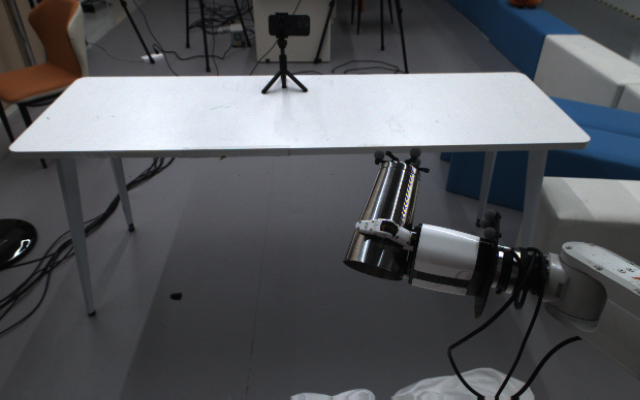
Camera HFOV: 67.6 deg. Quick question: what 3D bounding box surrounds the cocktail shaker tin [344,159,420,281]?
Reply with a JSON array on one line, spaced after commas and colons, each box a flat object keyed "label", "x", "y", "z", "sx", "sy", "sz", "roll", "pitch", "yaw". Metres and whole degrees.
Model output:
[{"label": "cocktail shaker tin", "x": 0.102, "y": 0.030, "z": 0.751, "sx": 0.093, "sy": 0.093, "sz": 0.170, "roll": 14, "pitch": 73, "yaw": 16}]
